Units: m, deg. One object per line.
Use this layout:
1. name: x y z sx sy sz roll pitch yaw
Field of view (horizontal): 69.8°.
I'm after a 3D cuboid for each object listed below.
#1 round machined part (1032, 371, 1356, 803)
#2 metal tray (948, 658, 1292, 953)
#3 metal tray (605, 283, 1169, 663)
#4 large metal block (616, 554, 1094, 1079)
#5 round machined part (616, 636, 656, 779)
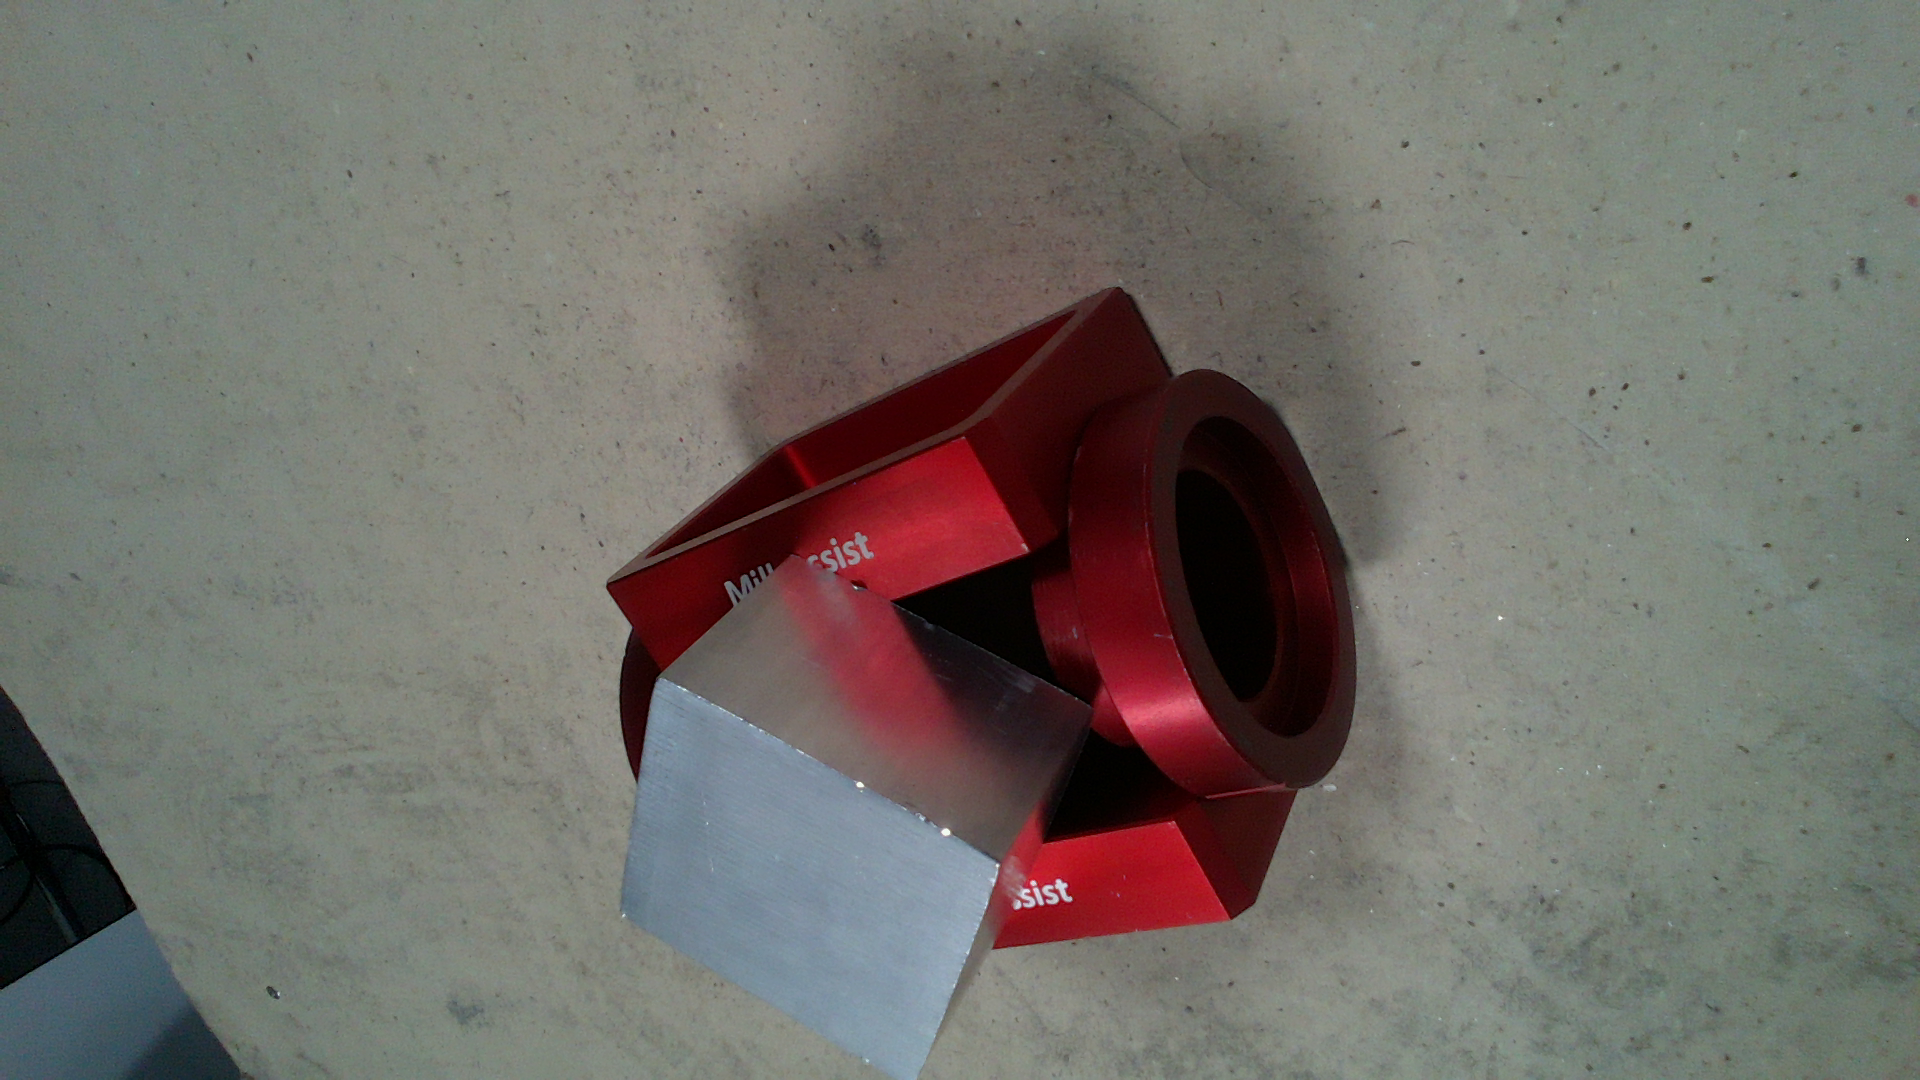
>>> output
1. round machined part: 0.053 0.013 0.325 0.042 0.098 0.098 -17 110 35
2. metal tray: 0.027 0.070 0.378 0.129 0.090 0.030 -19 108 35
3. metal tray: -0.019 -0.015 0.353 0.129 0.090 0.030 -20 108 36
4. large metal block: -0.026 0.063 0.310 0.080 0.050 0.080 26 128 12
5. round machined part: -0.048 0.048 0.400 0.042 0.098 0.098 -17 110 35
